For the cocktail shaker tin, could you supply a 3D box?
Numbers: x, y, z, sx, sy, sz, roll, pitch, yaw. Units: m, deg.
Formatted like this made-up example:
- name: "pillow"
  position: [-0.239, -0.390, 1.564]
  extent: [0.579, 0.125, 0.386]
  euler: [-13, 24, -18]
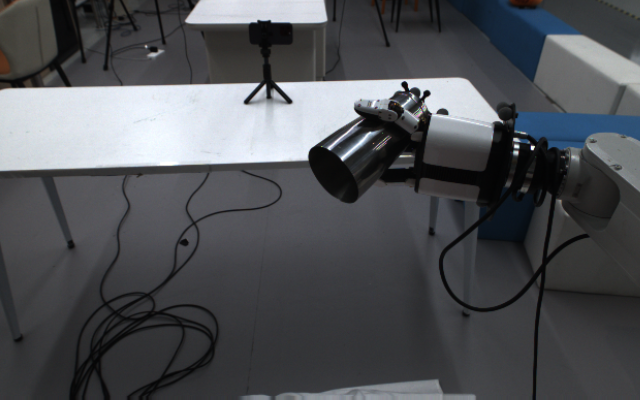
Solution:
- name: "cocktail shaker tin"
  position: [0.076, -0.087, 0.677]
  extent: [0.170, 0.093, 0.093]
  euler: [-38, 50, -24]
